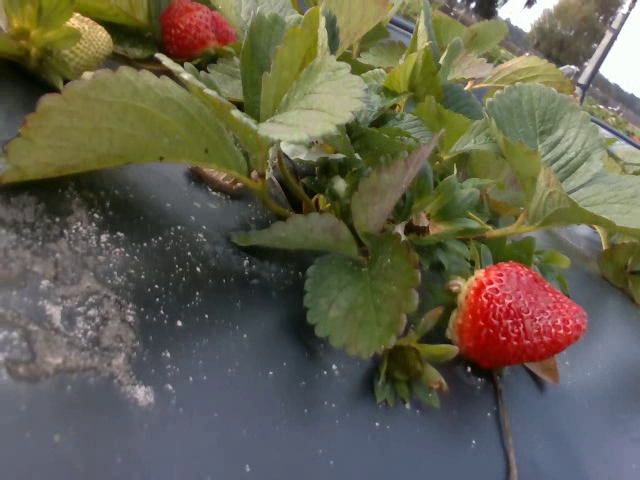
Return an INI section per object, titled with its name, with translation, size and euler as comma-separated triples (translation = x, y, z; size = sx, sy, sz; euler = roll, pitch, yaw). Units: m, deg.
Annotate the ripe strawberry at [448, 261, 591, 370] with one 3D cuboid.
[ripe strawberry]
translation = 0.080, 0.032, 0.242
size = 0.050, 0.049, 0.053
euler = 13, -1, -34
